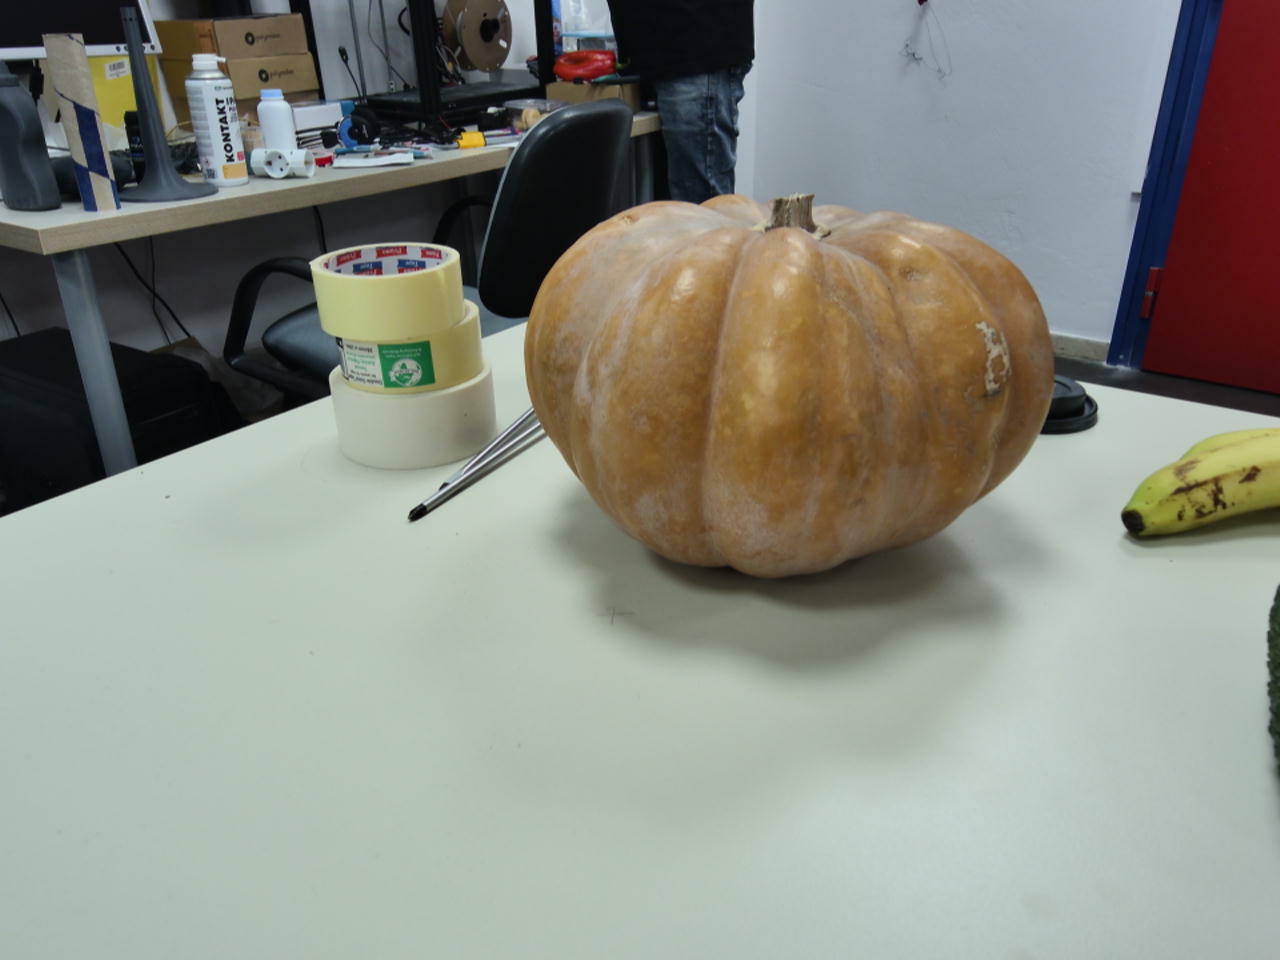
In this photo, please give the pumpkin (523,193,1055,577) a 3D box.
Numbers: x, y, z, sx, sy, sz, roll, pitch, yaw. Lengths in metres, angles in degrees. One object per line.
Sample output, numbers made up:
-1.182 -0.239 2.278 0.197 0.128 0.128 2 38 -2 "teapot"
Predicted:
0.071 -0.059 0.535 0.277 0.181 0.277 0 24 0 "pumpkin"
